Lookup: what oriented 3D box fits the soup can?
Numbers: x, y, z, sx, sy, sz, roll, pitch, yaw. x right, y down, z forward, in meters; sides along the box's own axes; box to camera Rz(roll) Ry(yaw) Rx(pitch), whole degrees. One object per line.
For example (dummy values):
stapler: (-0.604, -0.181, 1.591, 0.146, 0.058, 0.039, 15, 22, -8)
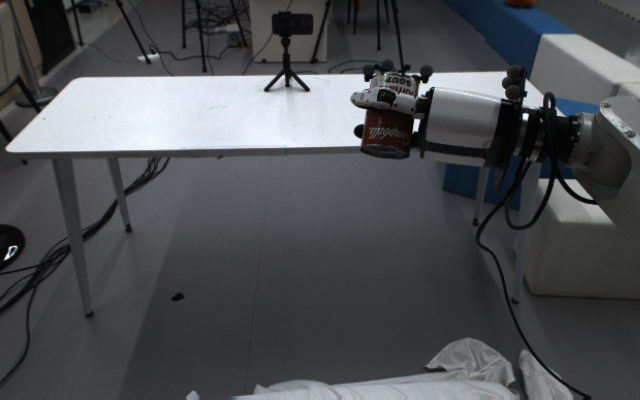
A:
soup can: (0.095, -0.113, 0.654, 0.067, 0.101, 0.067, 9, -6, 1)
